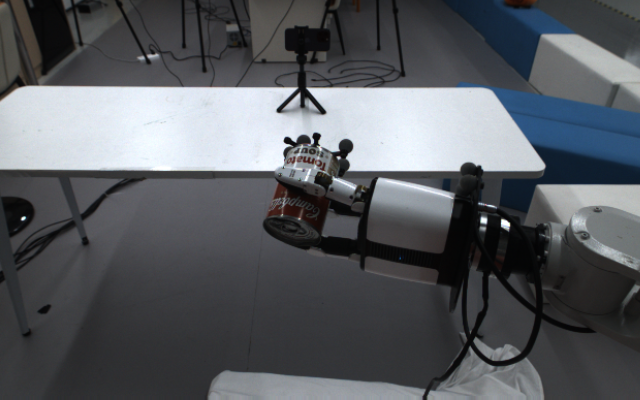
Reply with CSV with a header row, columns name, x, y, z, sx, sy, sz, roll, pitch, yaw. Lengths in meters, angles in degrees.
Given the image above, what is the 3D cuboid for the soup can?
name,x,y,z,sx,sy,sz,roll,pitch,yaw
soup can,-0.018,-0.007,0.564,0.067,0.067,0.101,9,61,10
